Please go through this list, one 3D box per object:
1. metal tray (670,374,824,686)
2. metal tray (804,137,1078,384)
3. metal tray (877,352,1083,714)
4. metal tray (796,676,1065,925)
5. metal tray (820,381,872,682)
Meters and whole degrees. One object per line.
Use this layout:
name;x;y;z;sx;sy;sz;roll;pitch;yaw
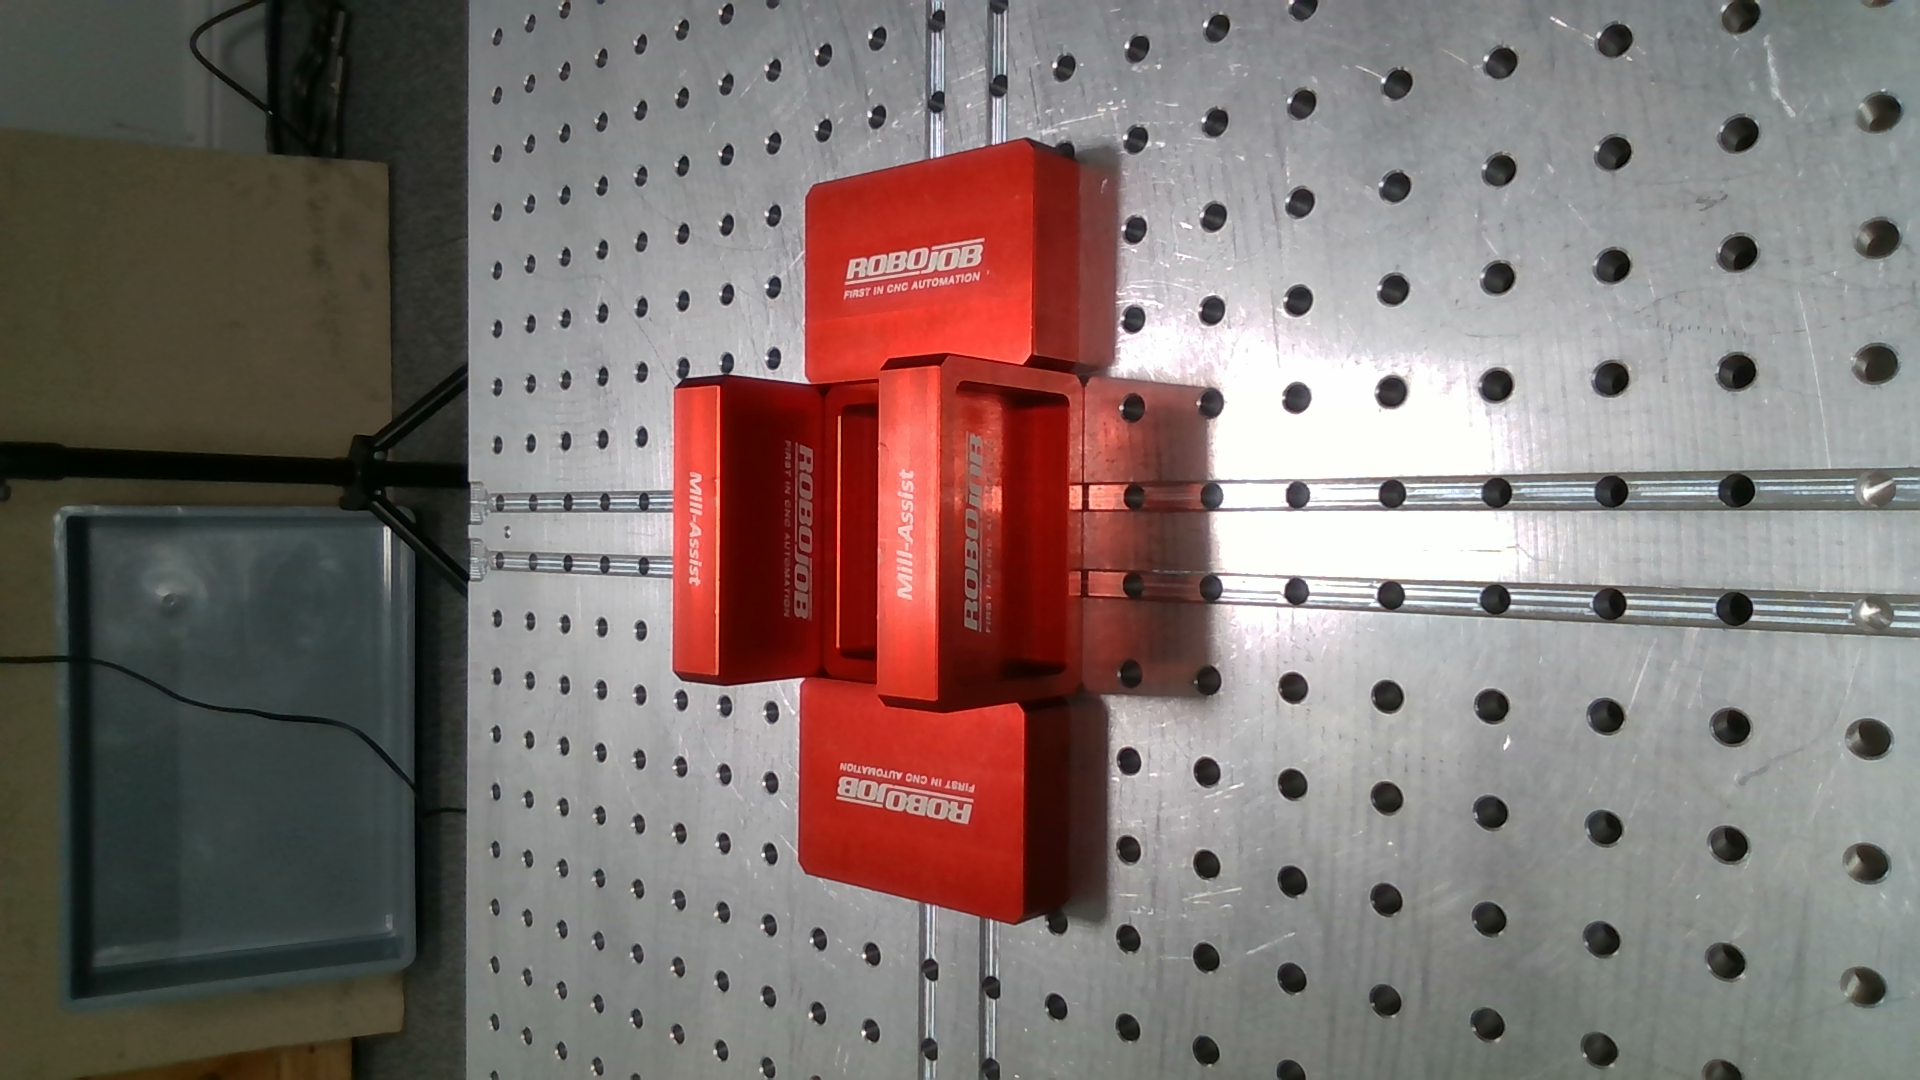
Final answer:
metal tray;-0.084;-0.004;0.611;0.030;0.090;0.130;1;91;40
metal tray;-0.011;-0.114;0.590;0.130;0.030;0.090;1;91;40
metal tray;0.009;-0.003;0.535;0.030;0.090;0.130;1;91;40
metal tray;-0.016;0.107;0.594;0.130;0.030;0.090;1;92;40
metal tray;-0.019;-0.003;0.594;0.090;0.030;0.130;1;91;40
